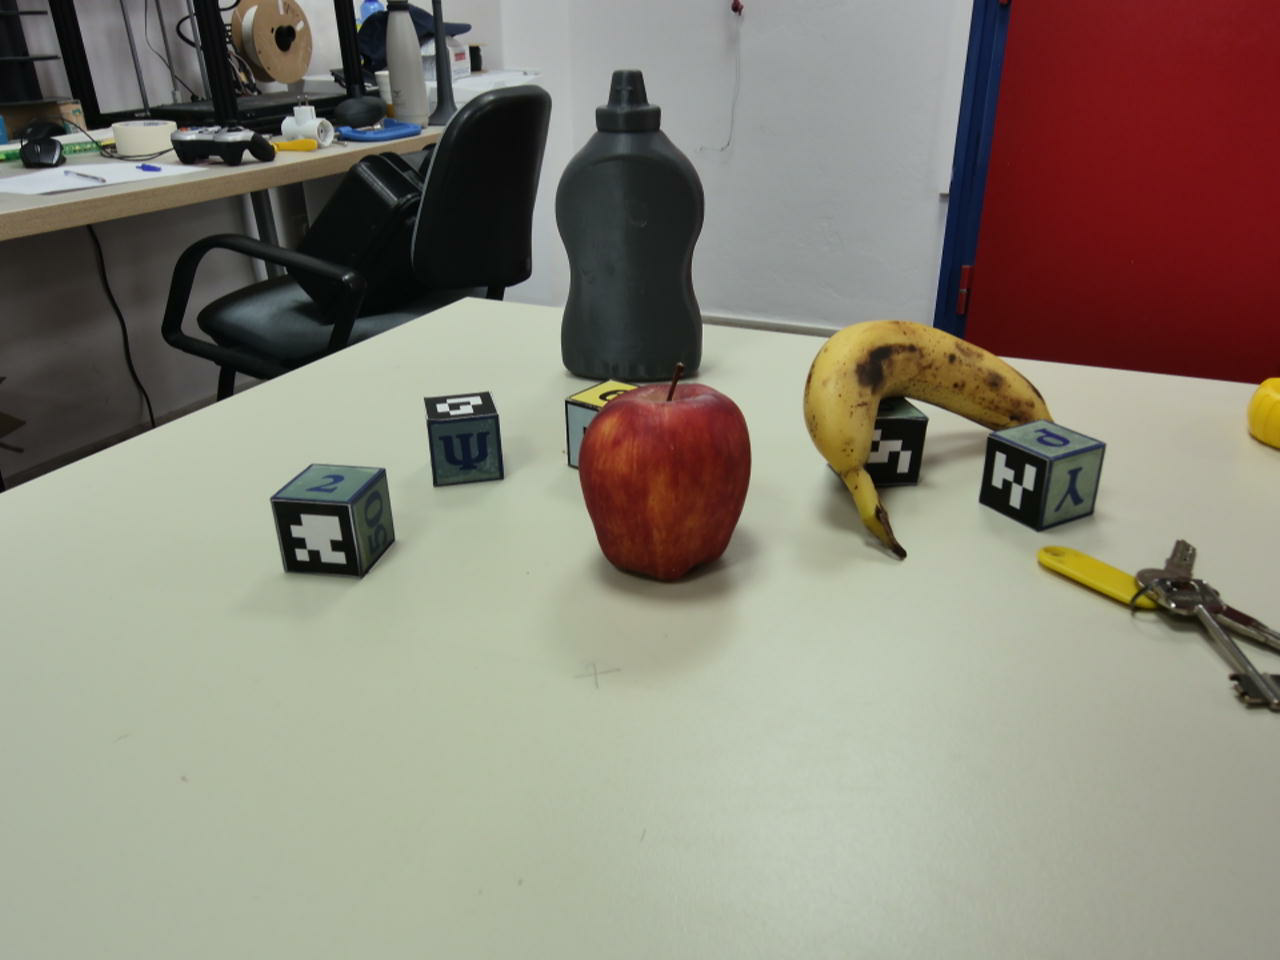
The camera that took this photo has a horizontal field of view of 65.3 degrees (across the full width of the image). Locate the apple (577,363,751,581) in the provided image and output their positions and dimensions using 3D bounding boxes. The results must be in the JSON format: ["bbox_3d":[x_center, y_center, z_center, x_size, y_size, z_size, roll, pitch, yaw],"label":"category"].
[{"bbox_3d":[0.011,-0.008,0.439,0.083,0.090,0.083,-1,24,0],"label":"apple"}]
